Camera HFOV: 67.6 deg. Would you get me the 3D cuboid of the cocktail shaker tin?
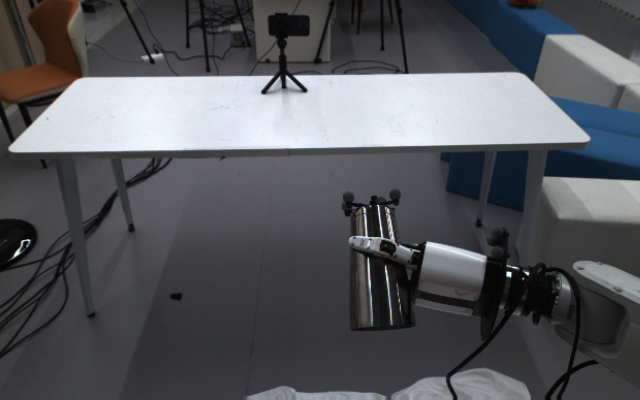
[{"bbox_3d":[0.083,0.098,0.698,0.093,0.093,0.170,-2,71,-6],"label":"cocktail shaker tin"}]
